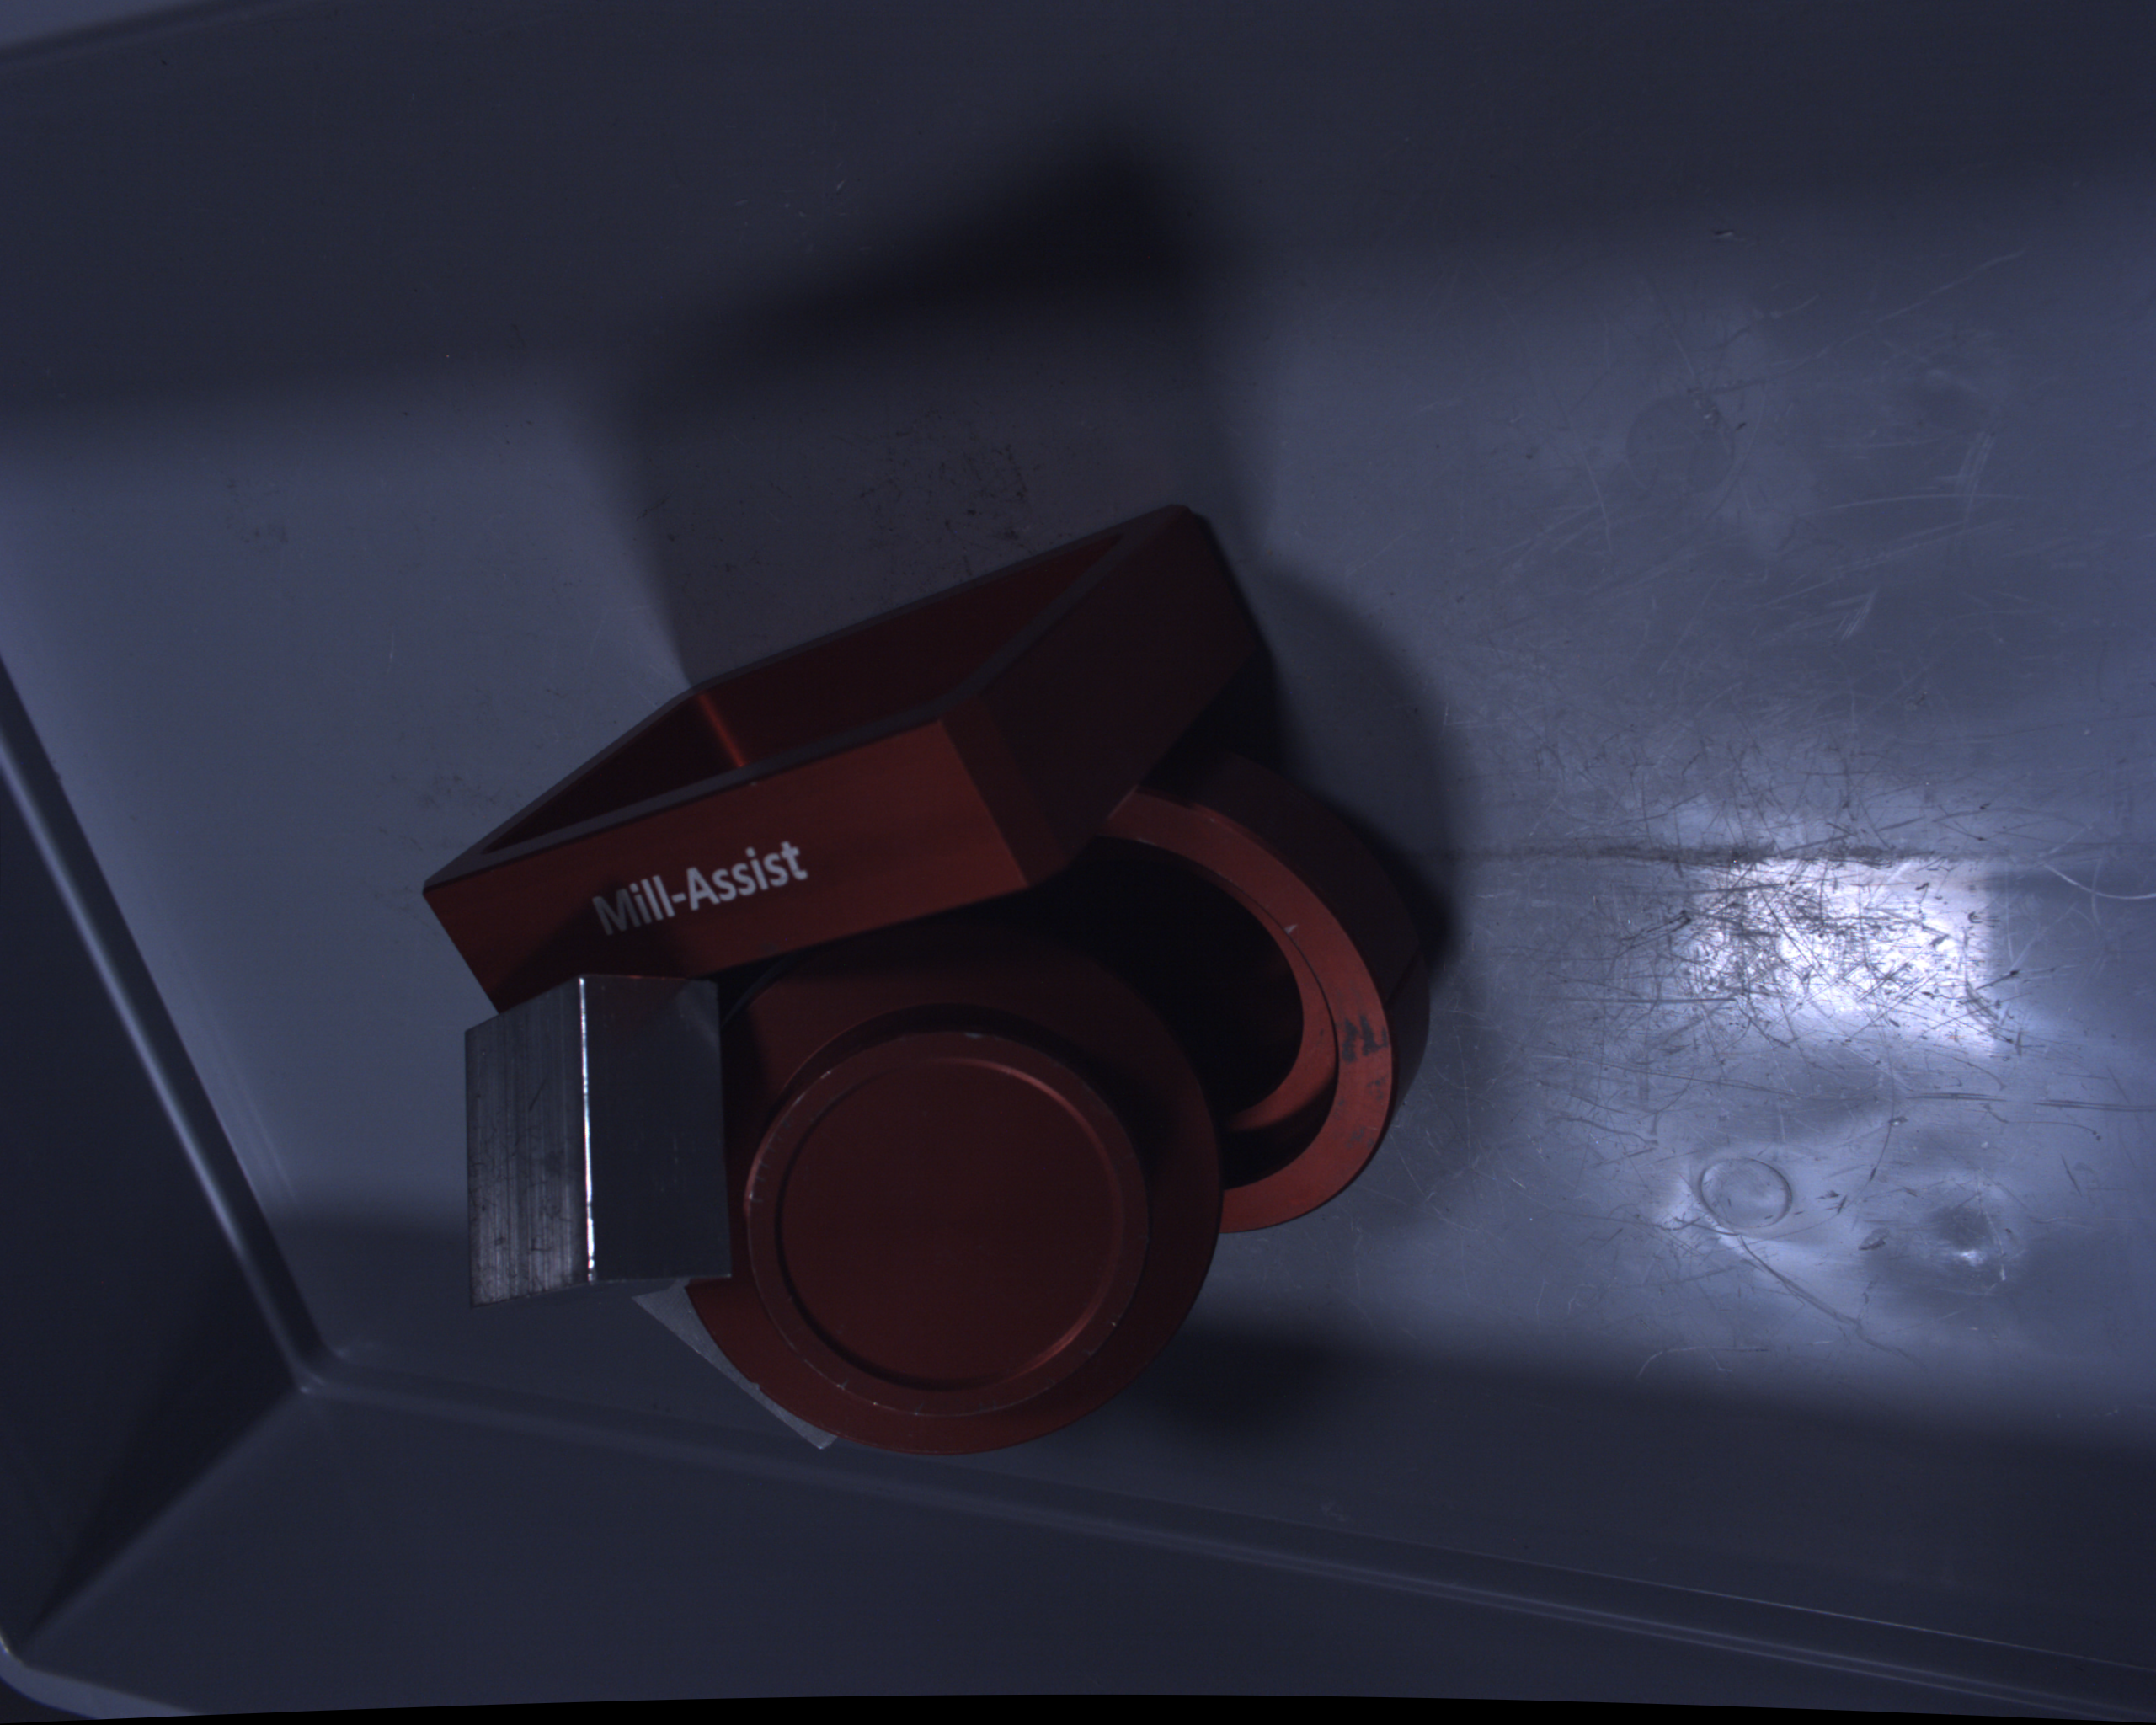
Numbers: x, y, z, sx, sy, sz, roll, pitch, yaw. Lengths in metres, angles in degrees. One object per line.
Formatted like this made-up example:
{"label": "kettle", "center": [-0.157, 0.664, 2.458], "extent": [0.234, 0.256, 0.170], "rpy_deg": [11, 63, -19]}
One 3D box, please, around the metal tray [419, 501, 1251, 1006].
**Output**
{"label": "metal tray", "center": [-0.044, -0.017, 0.375], "extent": [0.130, 0.090, 0.030], "rpy_deg": [-16, 111, 34]}

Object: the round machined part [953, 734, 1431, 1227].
{"label": "round machined part", "center": [0.020, 0.018, 0.397], "extent": [0.098, 0.042, 0.097], "rpy_deg": [13, 124, 20]}

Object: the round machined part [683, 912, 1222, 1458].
{"label": "round machined part", "center": [-0.023, 0.059, 0.368], "extent": [0.099, 0.042, 0.097], "rpy_deg": [-1, 96, -6]}

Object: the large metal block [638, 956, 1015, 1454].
{"label": "large metal block", "center": [-0.053, 0.059, 0.435], "extent": [0.080, 0.080, 0.050], "rpy_deg": [39, 129, 1]}

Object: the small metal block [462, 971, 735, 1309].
{"label": "small metal block", "center": [-0.084, 0.049, 0.360], "extent": [0.050, 0.025, 0.050], "rpy_deg": [-23, 68, 49]}
